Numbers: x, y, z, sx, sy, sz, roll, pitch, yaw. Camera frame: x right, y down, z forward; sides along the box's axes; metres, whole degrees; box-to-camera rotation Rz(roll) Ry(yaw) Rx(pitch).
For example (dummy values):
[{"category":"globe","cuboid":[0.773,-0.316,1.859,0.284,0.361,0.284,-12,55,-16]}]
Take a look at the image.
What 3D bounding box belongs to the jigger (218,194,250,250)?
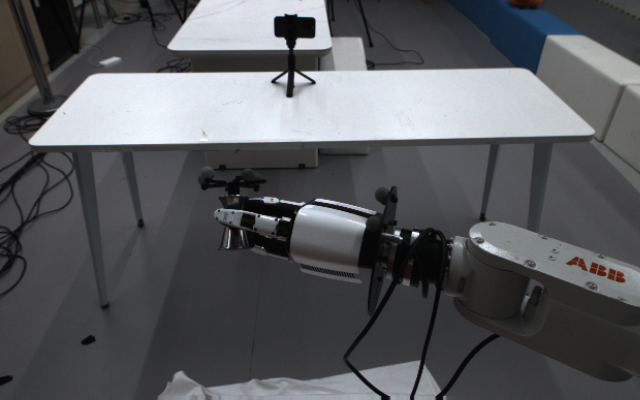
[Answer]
[{"category":"jigger","cuboid":[-0.110,0.029,0.622,0.043,0.071,0.043,-2,-7,0]}]
